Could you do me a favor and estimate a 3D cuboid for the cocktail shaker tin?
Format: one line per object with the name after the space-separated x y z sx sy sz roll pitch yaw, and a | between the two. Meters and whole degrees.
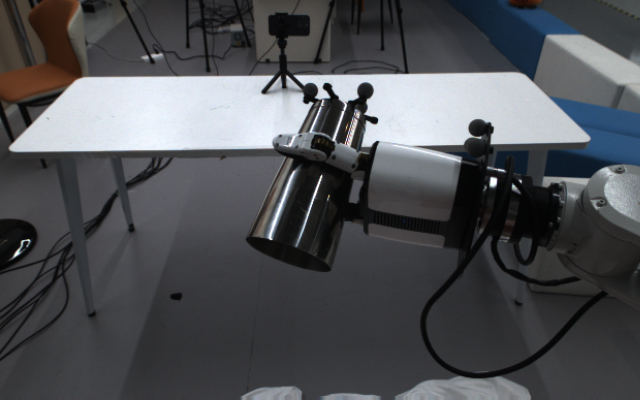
-0.005 -0.019 0.516 0.093 0.093 0.170 13 70 16 | cocktail shaker tin
